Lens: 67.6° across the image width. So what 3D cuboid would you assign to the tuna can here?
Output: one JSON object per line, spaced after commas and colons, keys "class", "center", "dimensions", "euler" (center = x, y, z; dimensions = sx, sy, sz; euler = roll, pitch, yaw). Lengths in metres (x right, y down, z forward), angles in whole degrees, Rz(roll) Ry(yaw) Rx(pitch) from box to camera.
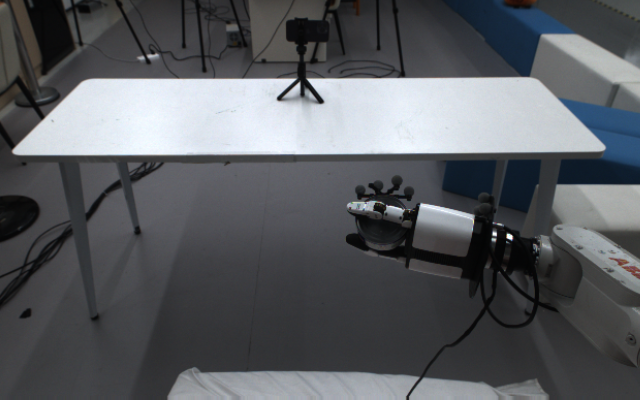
{"class": "tuna can", "center": [0.101, 0.036, 0.771], "dimensions": [0.085, 0.034, 0.085], "euler": [-4, 61, 7]}
